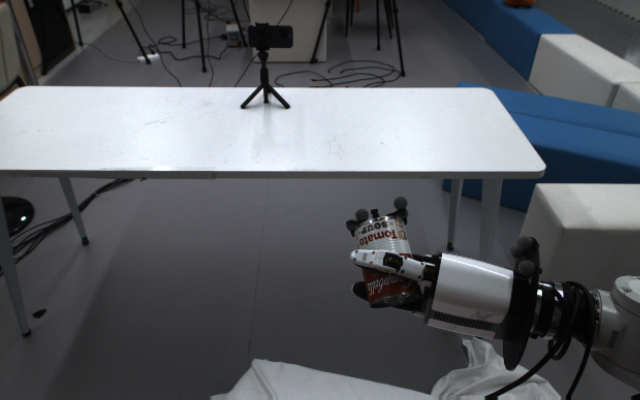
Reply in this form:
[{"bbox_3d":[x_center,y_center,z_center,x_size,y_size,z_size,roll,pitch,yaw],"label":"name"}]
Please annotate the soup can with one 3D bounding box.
[{"bbox_3d":[0.087,0.079,0.616,0.067,0.067,0.101,-6,67,-12],"label":"soup can"}]
